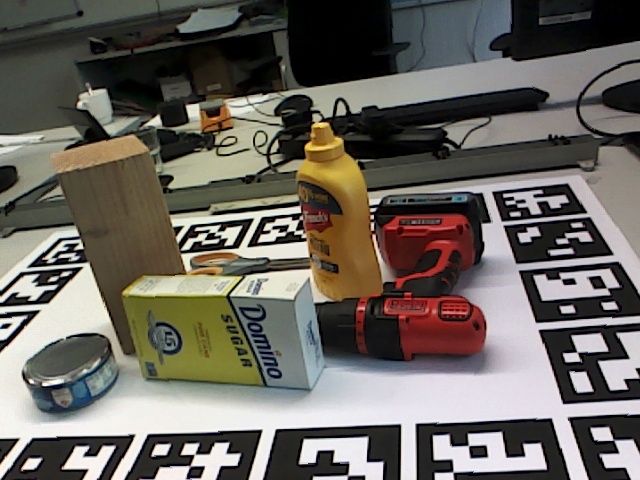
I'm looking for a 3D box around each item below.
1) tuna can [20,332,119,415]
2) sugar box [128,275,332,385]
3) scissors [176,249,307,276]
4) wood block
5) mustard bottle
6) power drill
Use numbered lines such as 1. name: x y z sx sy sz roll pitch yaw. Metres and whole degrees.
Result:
1. tuna can: -0.241 0.129 0.602 0.086 0.033 0.086 -9 27 4
2. sugar box: -0.082 0.083 0.575 0.177 0.092 0.045 0 25 18
3. scissors: -0.107 0.027 0.774 0.203 0.016 0.088 -6 23 10
4. wood block: -0.207 0.009 0.660 0.090 0.205 0.090 -21 29 -18
5. mustard bottle: 0.012 -0.031 0.665 0.058 0.191 0.097 -27 31 -28
6. power drill: 0.066 0.038 0.638 0.185 0.057 0.187 -1 35 20
